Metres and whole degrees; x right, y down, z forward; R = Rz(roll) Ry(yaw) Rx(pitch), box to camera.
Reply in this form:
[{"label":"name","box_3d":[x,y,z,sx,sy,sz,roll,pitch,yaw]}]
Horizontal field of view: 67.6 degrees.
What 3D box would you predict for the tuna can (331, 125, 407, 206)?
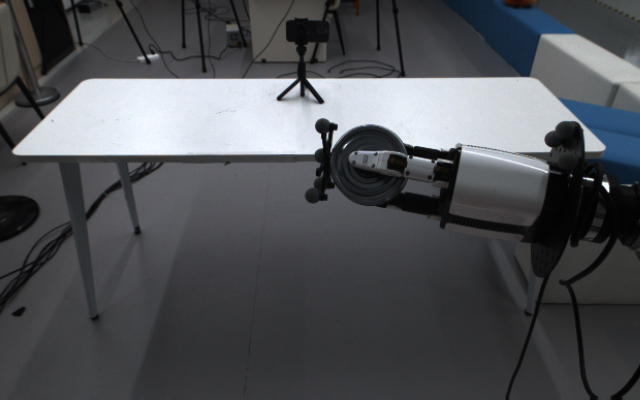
[{"label":"tuna can","box_3d":[0.059,-0.035,0.528,0.085,0.085,0.034,9,-7,10]}]
